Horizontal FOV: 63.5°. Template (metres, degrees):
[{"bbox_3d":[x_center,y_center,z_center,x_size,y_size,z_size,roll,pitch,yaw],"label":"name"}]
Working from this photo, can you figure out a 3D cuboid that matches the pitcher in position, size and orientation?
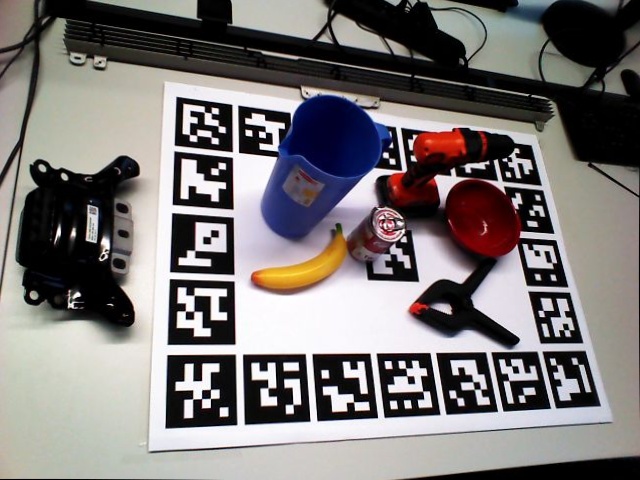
[{"bbox_3d":[0.025,-0.096,0.788,0.188,0.244,0.133,-23,75,-26],"label":"pitcher"}]

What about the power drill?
[{"bbox_3d":[0.245,-0.116,0.883,0.184,0.188,0.057,-2,70,-21],"label":"power drill"}]

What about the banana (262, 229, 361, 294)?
[{"bbox_3d":[-0.001,0.046,0.840,0.196,0.039,0.074,-24,70,-28],"label":"banana"}]

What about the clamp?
[{"bbox_3d":[0.283,0.118,0.901,0.202,0.037,0.165,0,73,-19],"label":"clamp"}]

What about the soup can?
[{"bbox_3d":[0.122,-0.008,0.867,0.068,0.103,0.067,9,58,-15],"label":"soup can"}]

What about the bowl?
[{"bbox_3d":[0.327,-0.027,0.972,0.161,0.055,0.161,6,69,-17],"label":"bowl"}]
